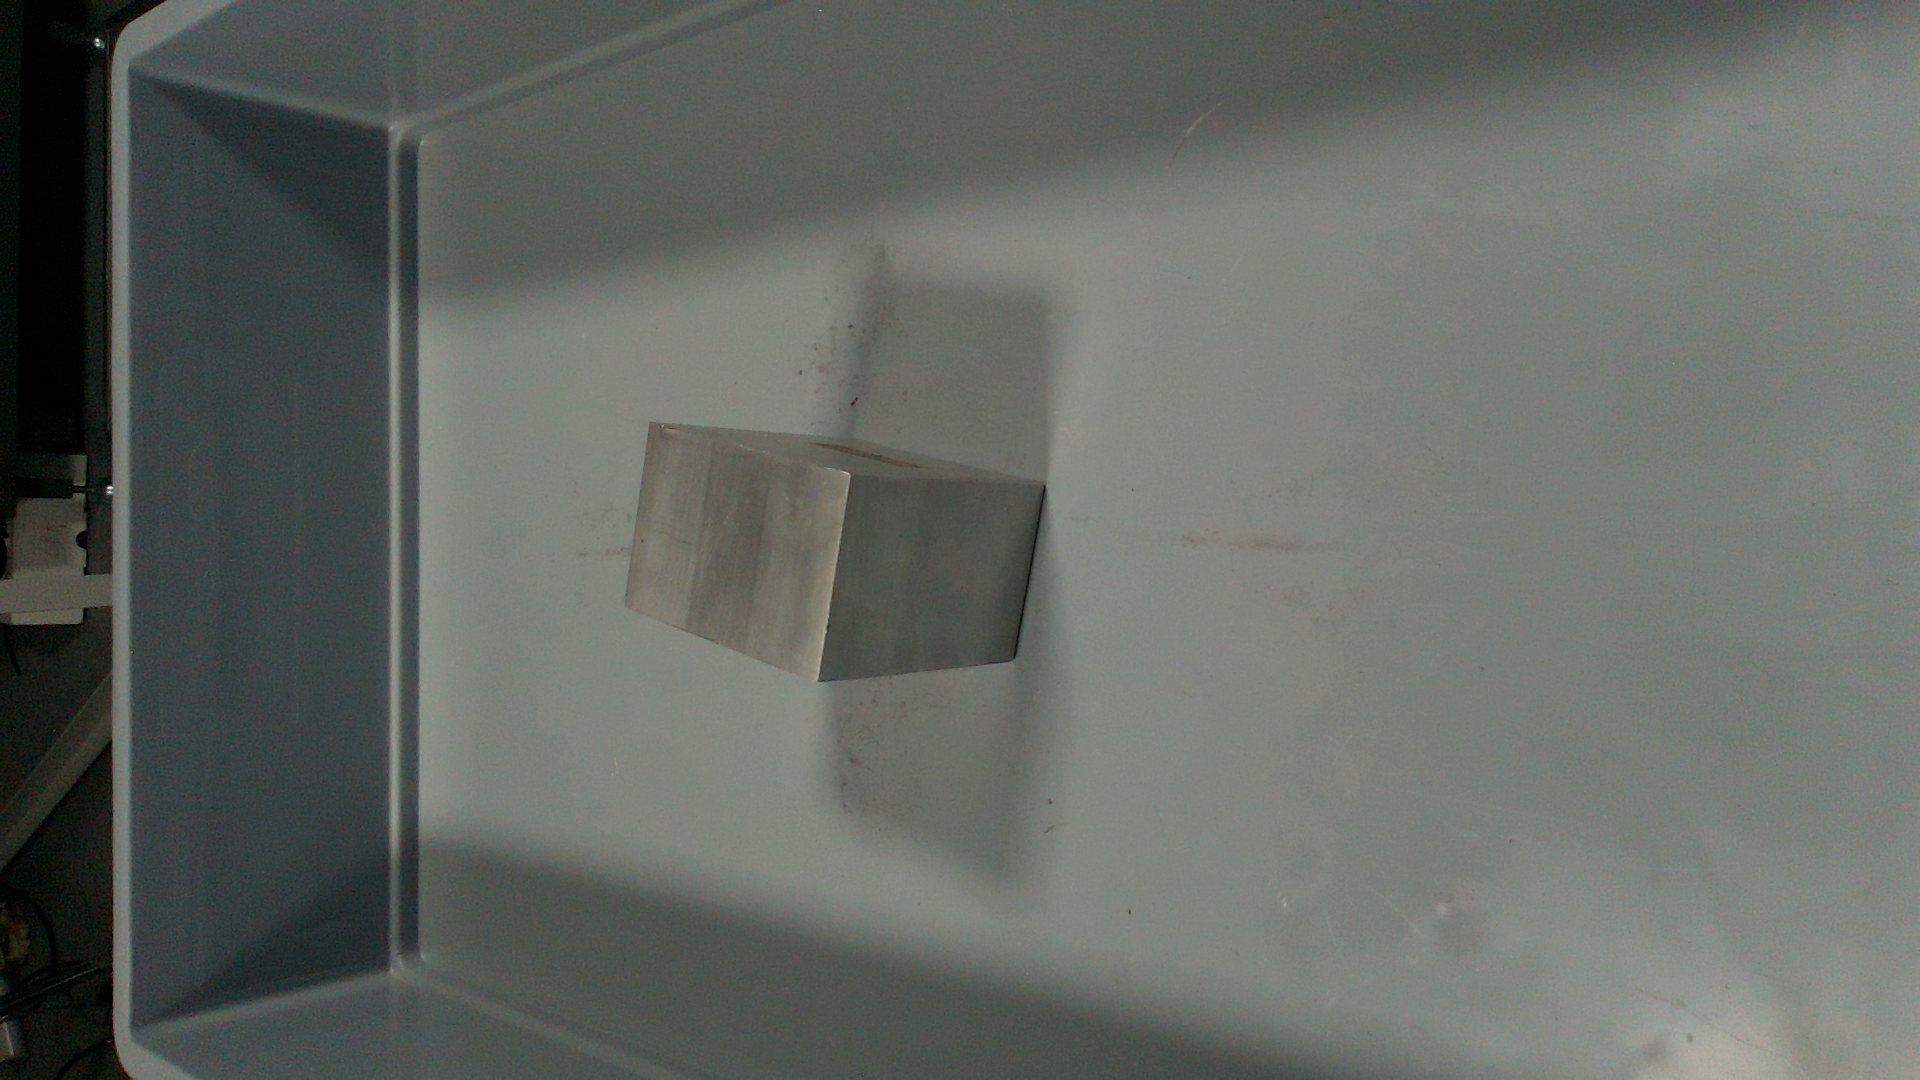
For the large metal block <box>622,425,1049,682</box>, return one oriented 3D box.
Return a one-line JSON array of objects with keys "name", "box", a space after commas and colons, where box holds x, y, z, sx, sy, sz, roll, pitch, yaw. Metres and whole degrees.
[{"name": "large metal block", "box": [-0.035, 0.001, 0.385, 0.080, 0.080, 0.050, 16, 100, 39]}]
